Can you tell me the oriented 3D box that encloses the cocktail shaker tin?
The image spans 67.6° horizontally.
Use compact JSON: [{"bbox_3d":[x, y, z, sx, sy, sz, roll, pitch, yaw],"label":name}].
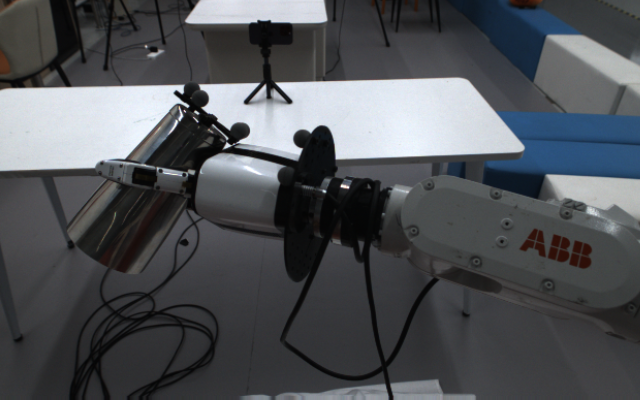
[{"bbox_3d":[-0.176,-0.017,0.519,0.170,0.093,0.093,-50,46,4],"label":"cocktail shaker tin"}]
